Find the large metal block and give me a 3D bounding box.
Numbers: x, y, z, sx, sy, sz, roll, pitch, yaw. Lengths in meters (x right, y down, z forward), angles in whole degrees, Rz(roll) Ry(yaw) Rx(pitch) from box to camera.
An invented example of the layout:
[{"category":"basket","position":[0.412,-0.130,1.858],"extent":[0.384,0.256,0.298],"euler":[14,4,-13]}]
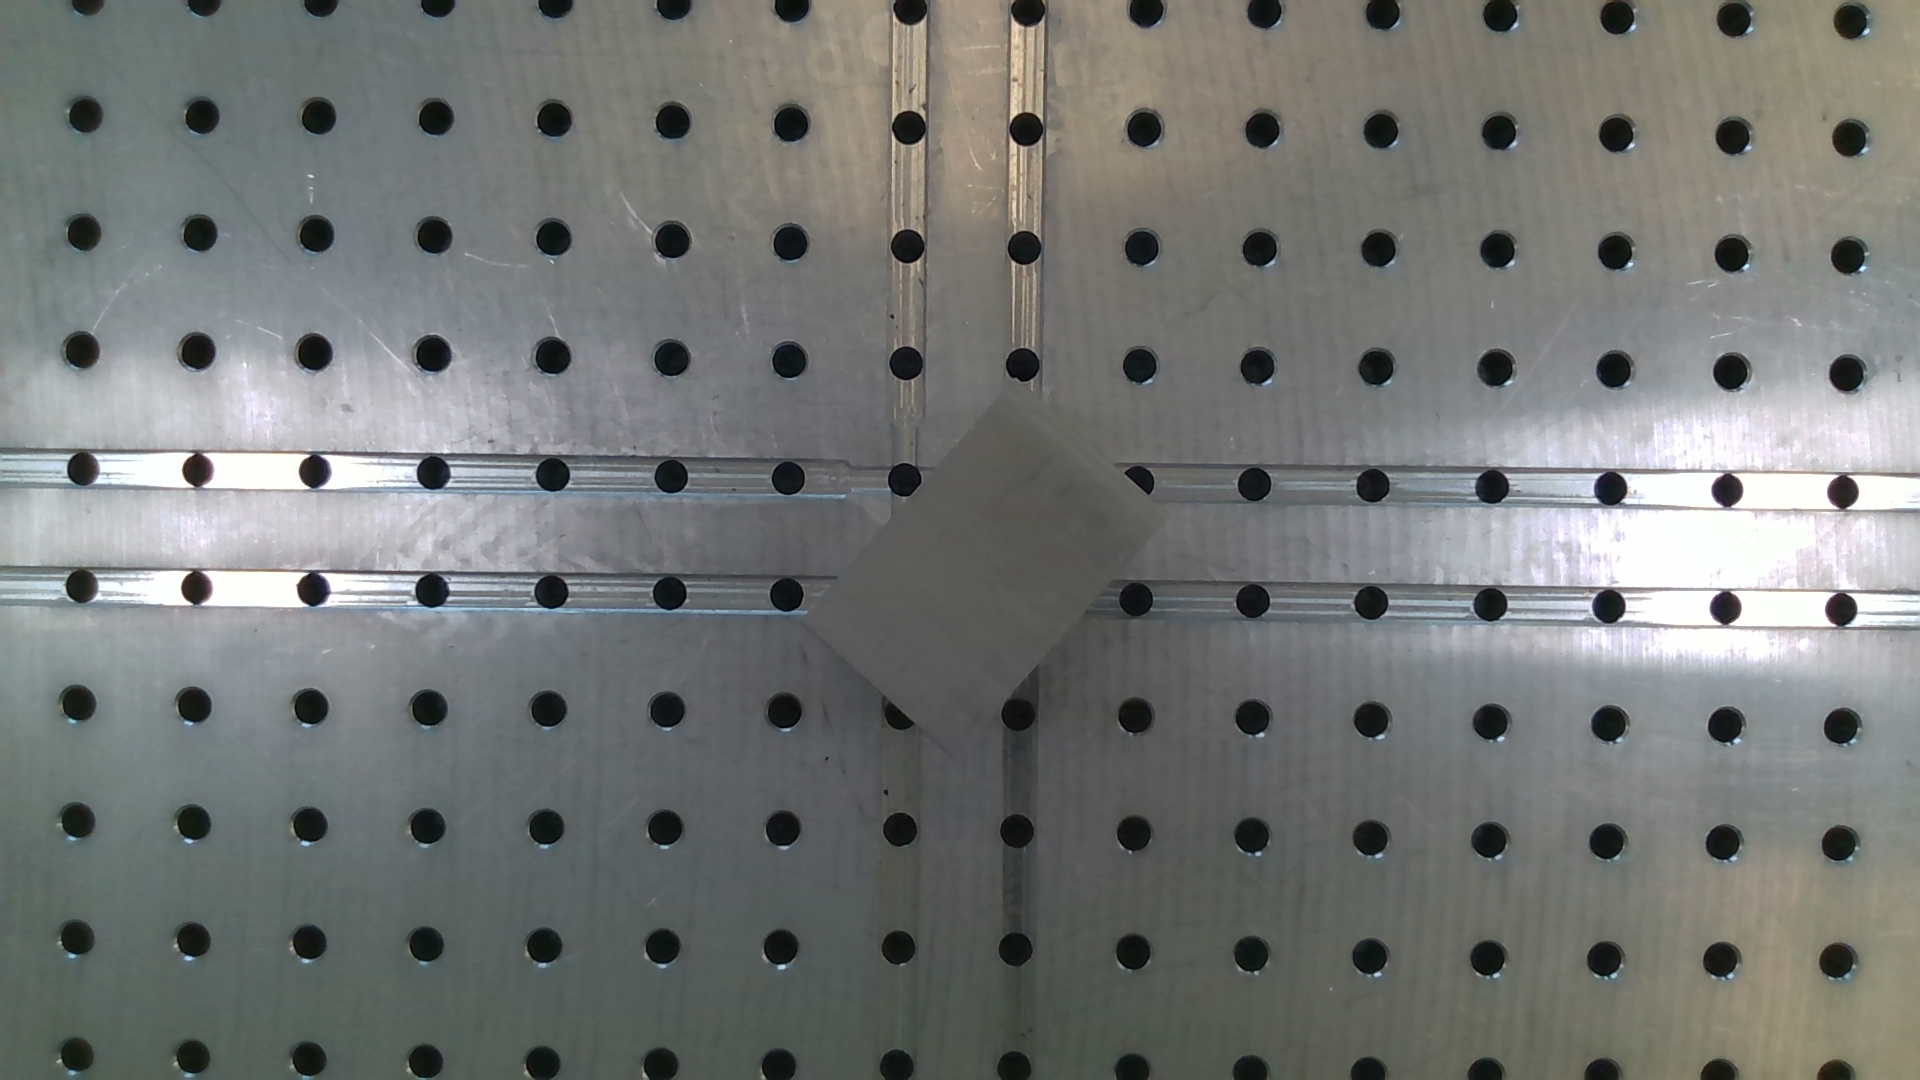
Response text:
[{"category":"large metal block","position":[0.006,0.006,0.370],"extent":[0.050,0.080,0.080],"euler":[41,90,0]}]
